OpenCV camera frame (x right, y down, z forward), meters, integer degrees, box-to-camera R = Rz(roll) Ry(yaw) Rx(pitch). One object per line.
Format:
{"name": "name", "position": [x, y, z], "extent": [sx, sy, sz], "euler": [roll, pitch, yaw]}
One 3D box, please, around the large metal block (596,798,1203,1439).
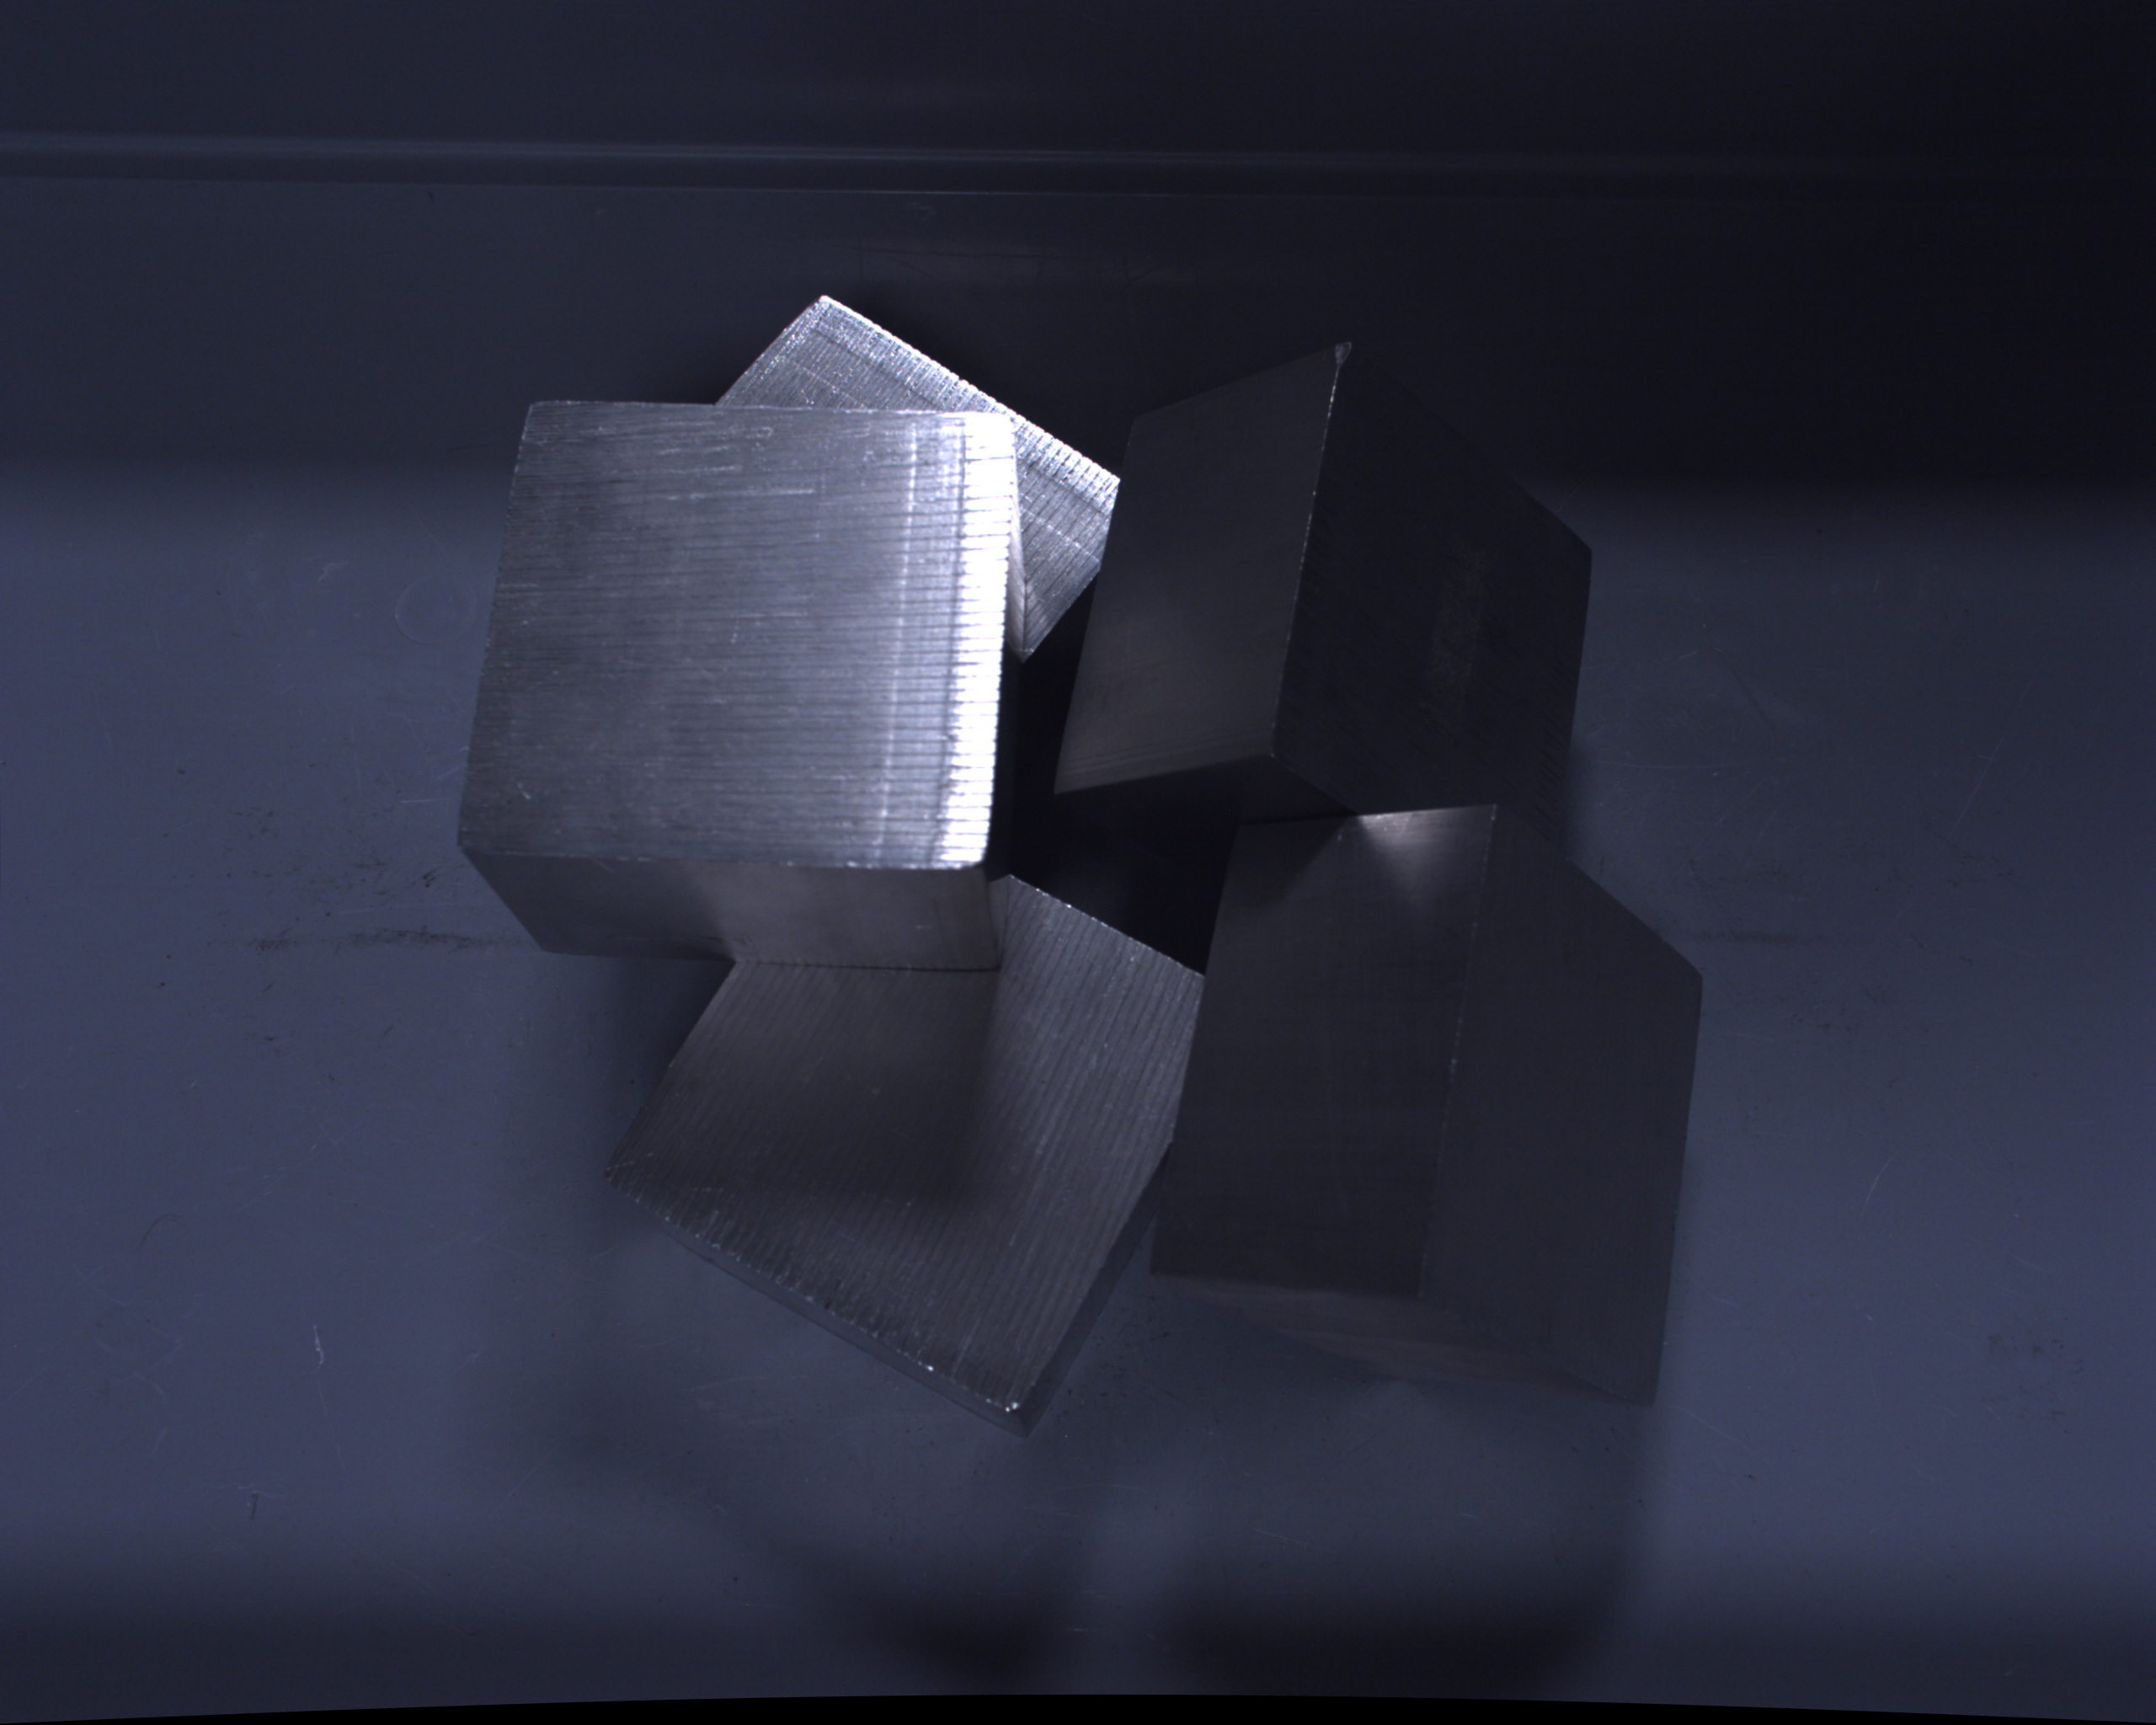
{"name": "large metal block", "position": [-0.025, 0.046, 0.374], "extent": [0.080, 0.050, 0.080], "euler": [28, 72, 9]}

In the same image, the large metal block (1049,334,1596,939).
{"name": "large metal block", "position": [0.048, -0.036, 0.386], "extent": [0.080, 0.050, 0.080], "euler": [28, 64, -38]}

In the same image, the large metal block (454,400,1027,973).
{"name": "large metal block", "position": [-0.051, -0.028, 0.350], "extent": [0.081, 0.050, 0.080], "euler": [2, 69, 1]}

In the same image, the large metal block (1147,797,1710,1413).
{"name": "large metal block", "position": [0.063, 0.043, 0.357], "extent": [0.050, 0.080, 0.080], "euler": [-5, 64, 40]}

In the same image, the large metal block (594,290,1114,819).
{"name": "large metal block", "position": [-0.042, -0.052, 0.414], "extent": [0.080, 0.050, 0.080], "euler": [34, 73, 11]}
